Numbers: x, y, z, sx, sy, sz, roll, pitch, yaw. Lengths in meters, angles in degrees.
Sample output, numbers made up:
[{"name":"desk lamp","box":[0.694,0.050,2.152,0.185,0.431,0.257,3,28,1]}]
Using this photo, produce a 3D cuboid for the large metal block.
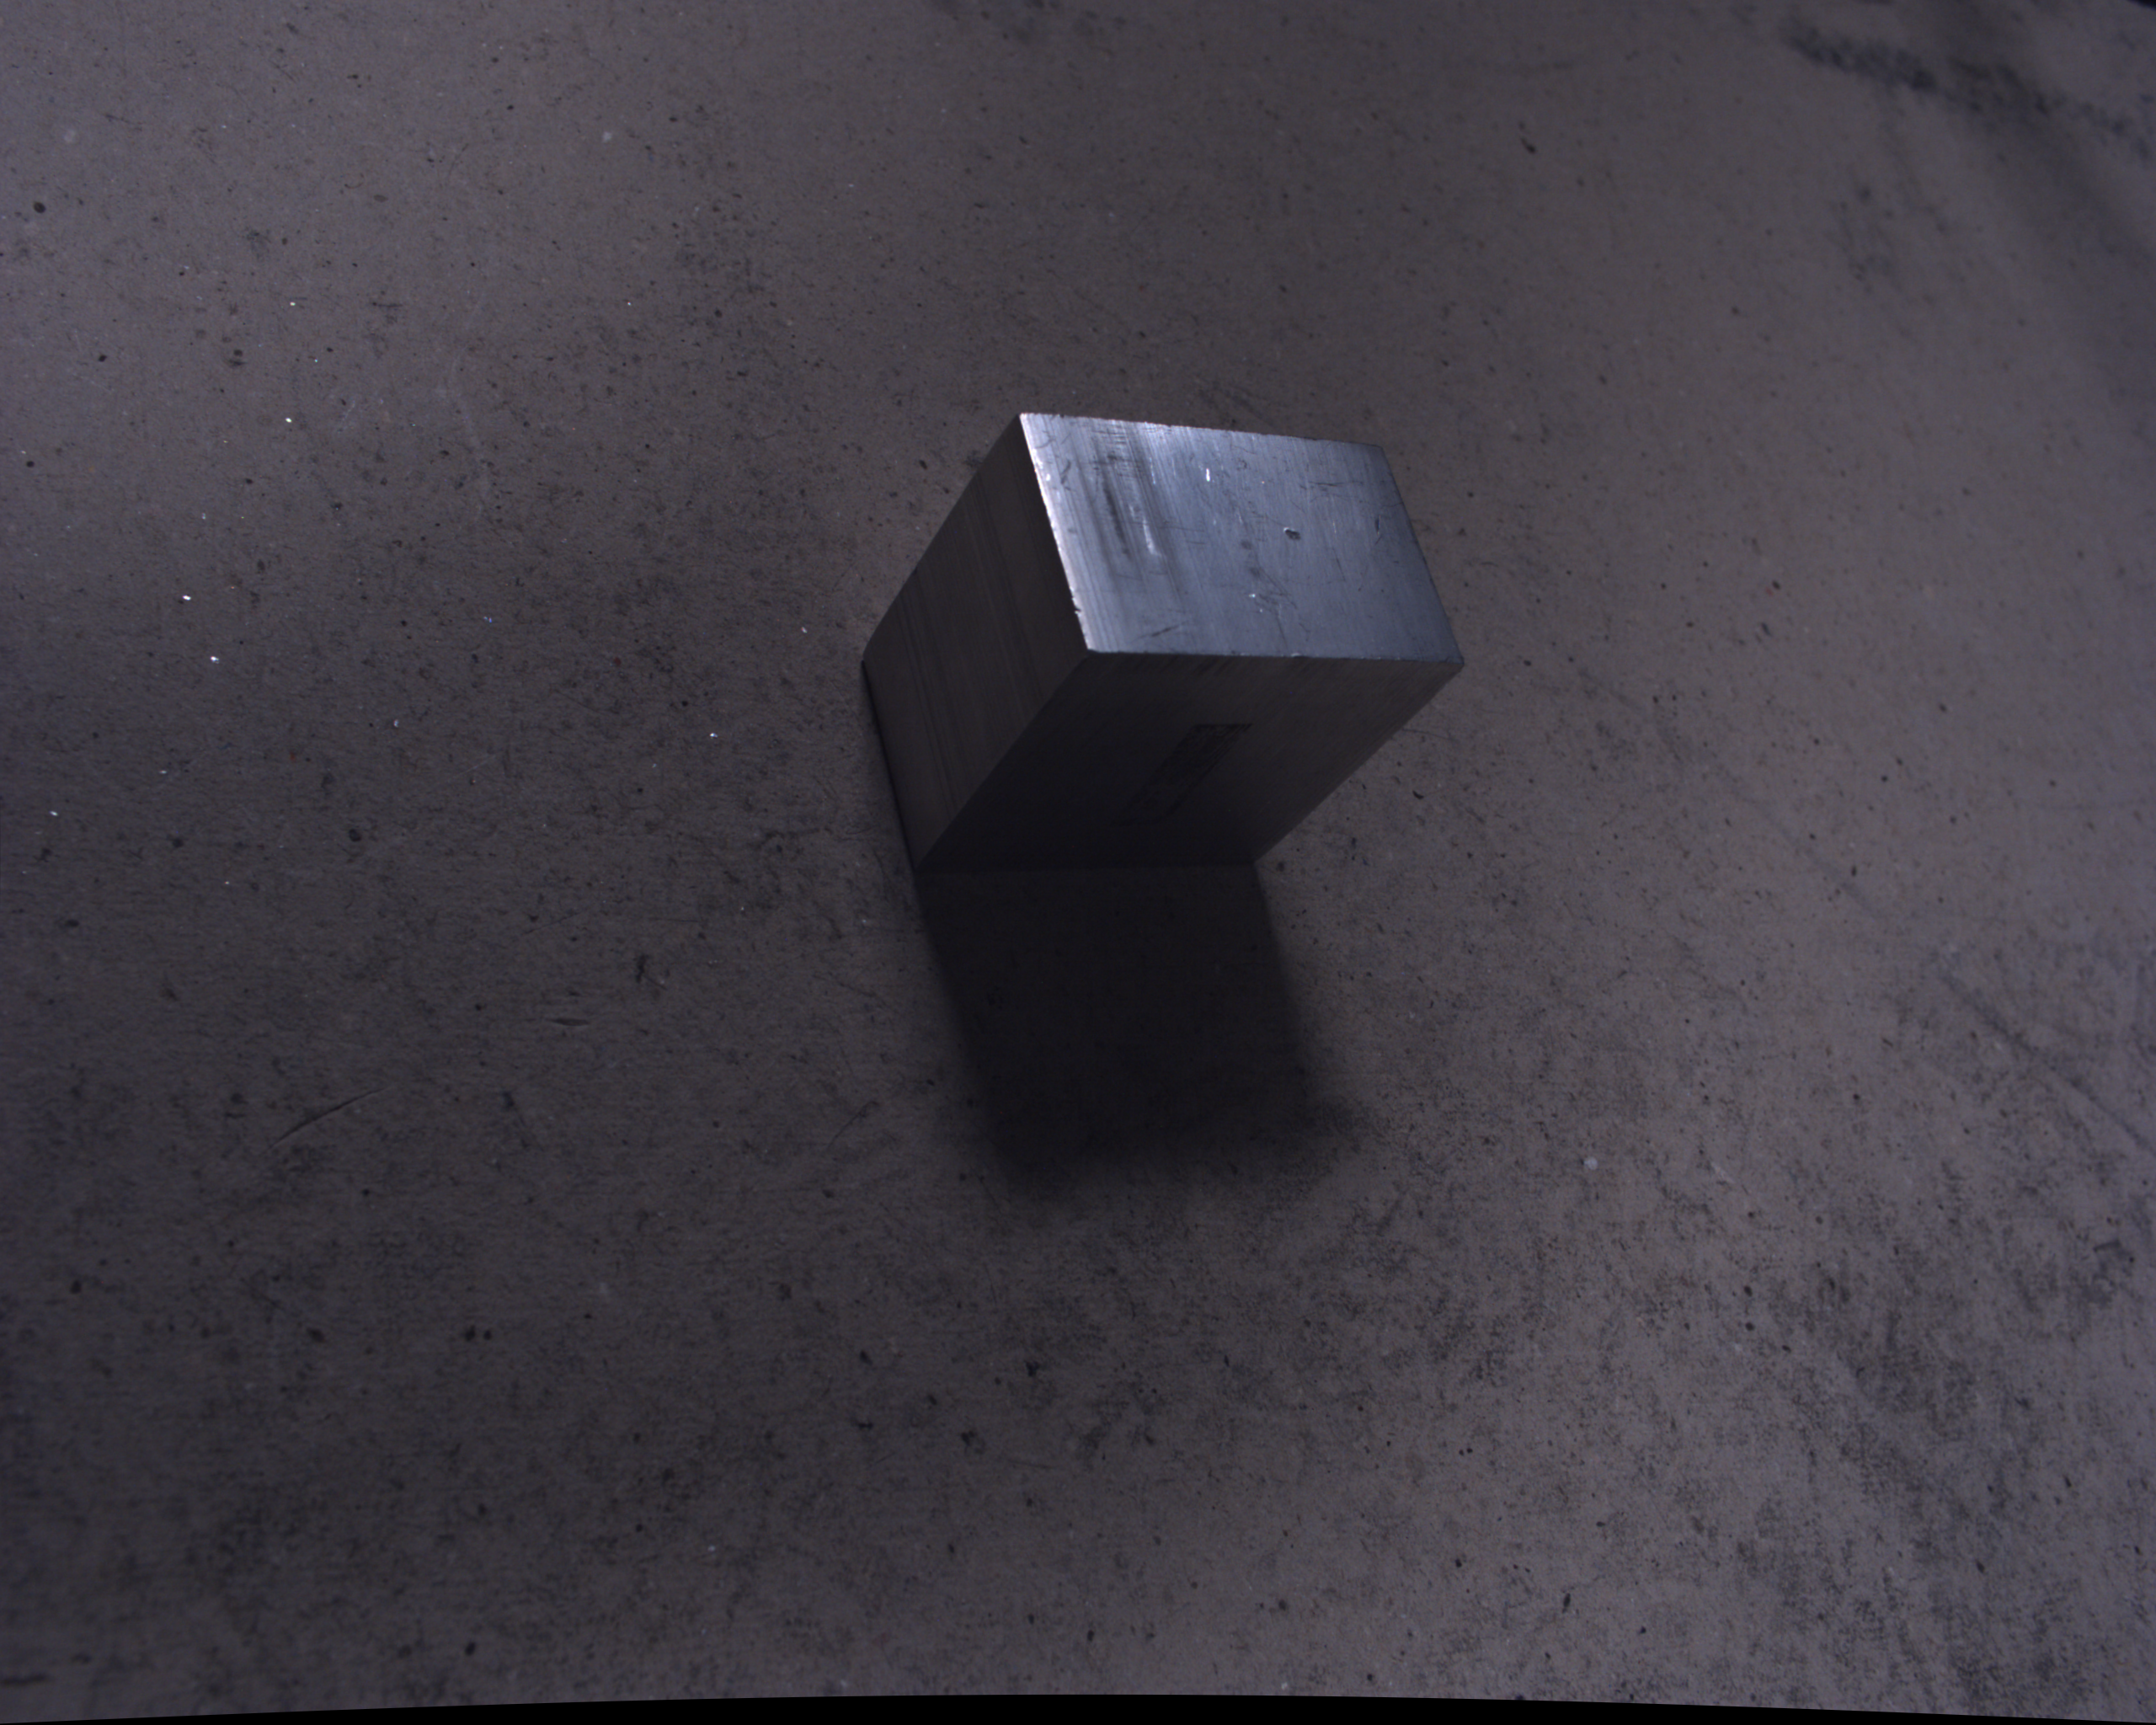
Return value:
[{"name":"large metal block","box":[0.013,-0.039,0.403,0.081,0.080,0.050,-1,63,-29]}]
